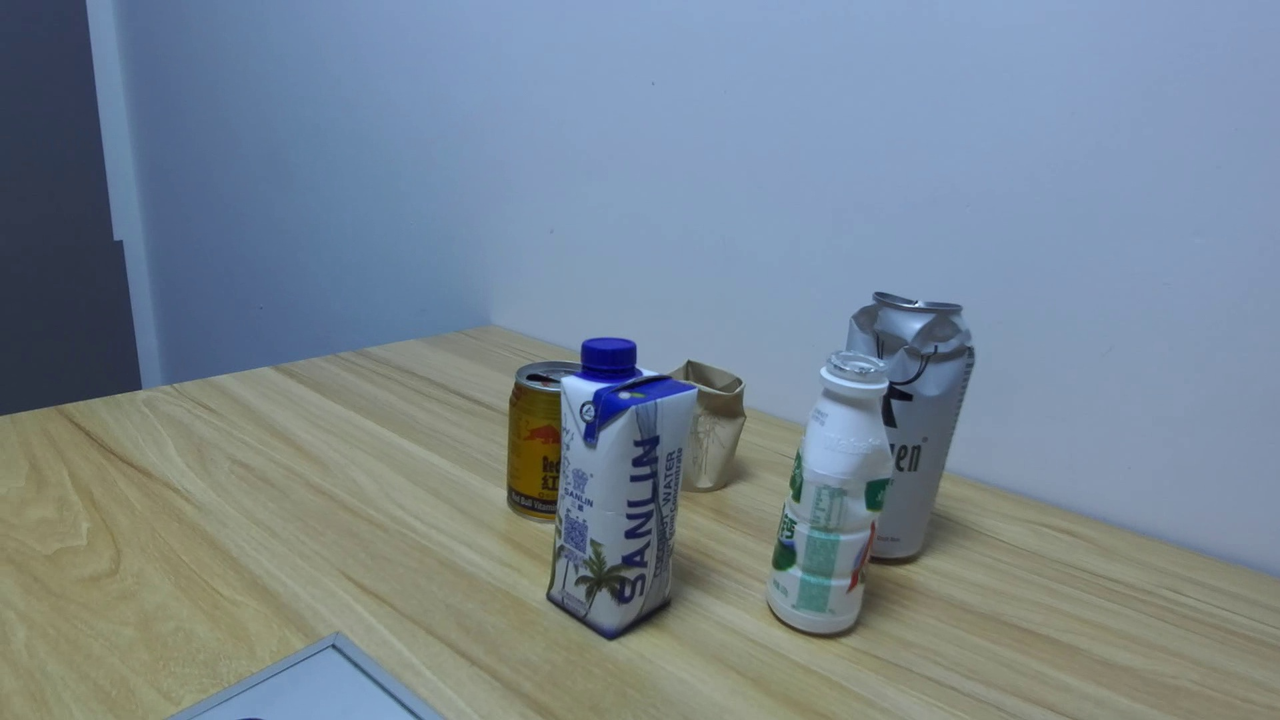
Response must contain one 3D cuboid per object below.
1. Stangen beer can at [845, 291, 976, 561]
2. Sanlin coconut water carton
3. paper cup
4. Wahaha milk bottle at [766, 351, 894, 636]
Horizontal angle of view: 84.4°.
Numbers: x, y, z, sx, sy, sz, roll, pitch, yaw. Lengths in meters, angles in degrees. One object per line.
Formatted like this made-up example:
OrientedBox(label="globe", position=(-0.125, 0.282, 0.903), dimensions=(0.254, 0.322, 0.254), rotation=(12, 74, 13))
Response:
OrientedBox(label="Stangen beer can", position=(0.163, 0.043, 0.454), dimensions=(0.066, 0.166, 0.065), rotation=(-1, 18, -19))
OrientedBox(label="Sanlin coconut water carton", position=(-0.010, 0.064, 0.372), dimensions=(0.060, 0.144, 0.061), rotation=(19, 21, 37))
OrientedBox(label="paper cup", position=(0.041, 0.051, 0.529), dimensions=(0.058, 0.083, 0.066), rotation=(-15, 23, -42))
OrientedBox(label="Wahaha milk bottle", position=(0.103, 0.070, 0.372), dimensions=(0.055, 0.149, 0.055), rotation=(6, 19, -2))
